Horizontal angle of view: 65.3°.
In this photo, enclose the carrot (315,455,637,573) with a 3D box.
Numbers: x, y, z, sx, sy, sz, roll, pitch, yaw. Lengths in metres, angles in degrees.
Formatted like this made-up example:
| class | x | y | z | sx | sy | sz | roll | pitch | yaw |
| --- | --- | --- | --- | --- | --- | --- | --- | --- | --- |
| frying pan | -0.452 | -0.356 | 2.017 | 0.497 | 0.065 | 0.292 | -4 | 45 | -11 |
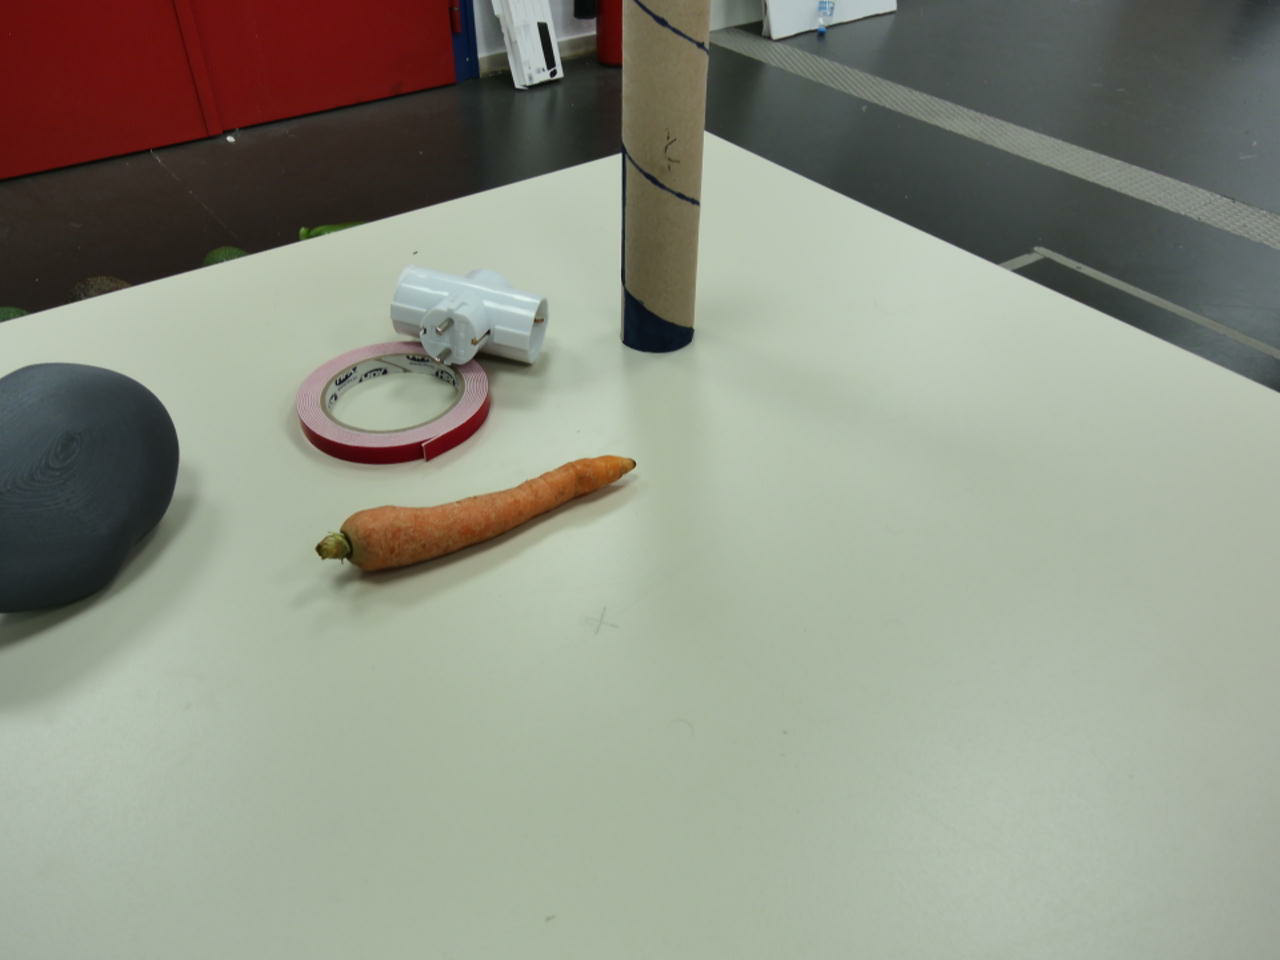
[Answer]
| class | x | y | z | sx | sy | sz | roll | pitch | yaw |
| --- | --- | --- | --- | --- | --- | --- | --- | --- | --- |
| carrot | -0.075 | 0.012 | 0.499 | 0.173 | 0.032 | 0.030 | -18 | 42 | -23 |
